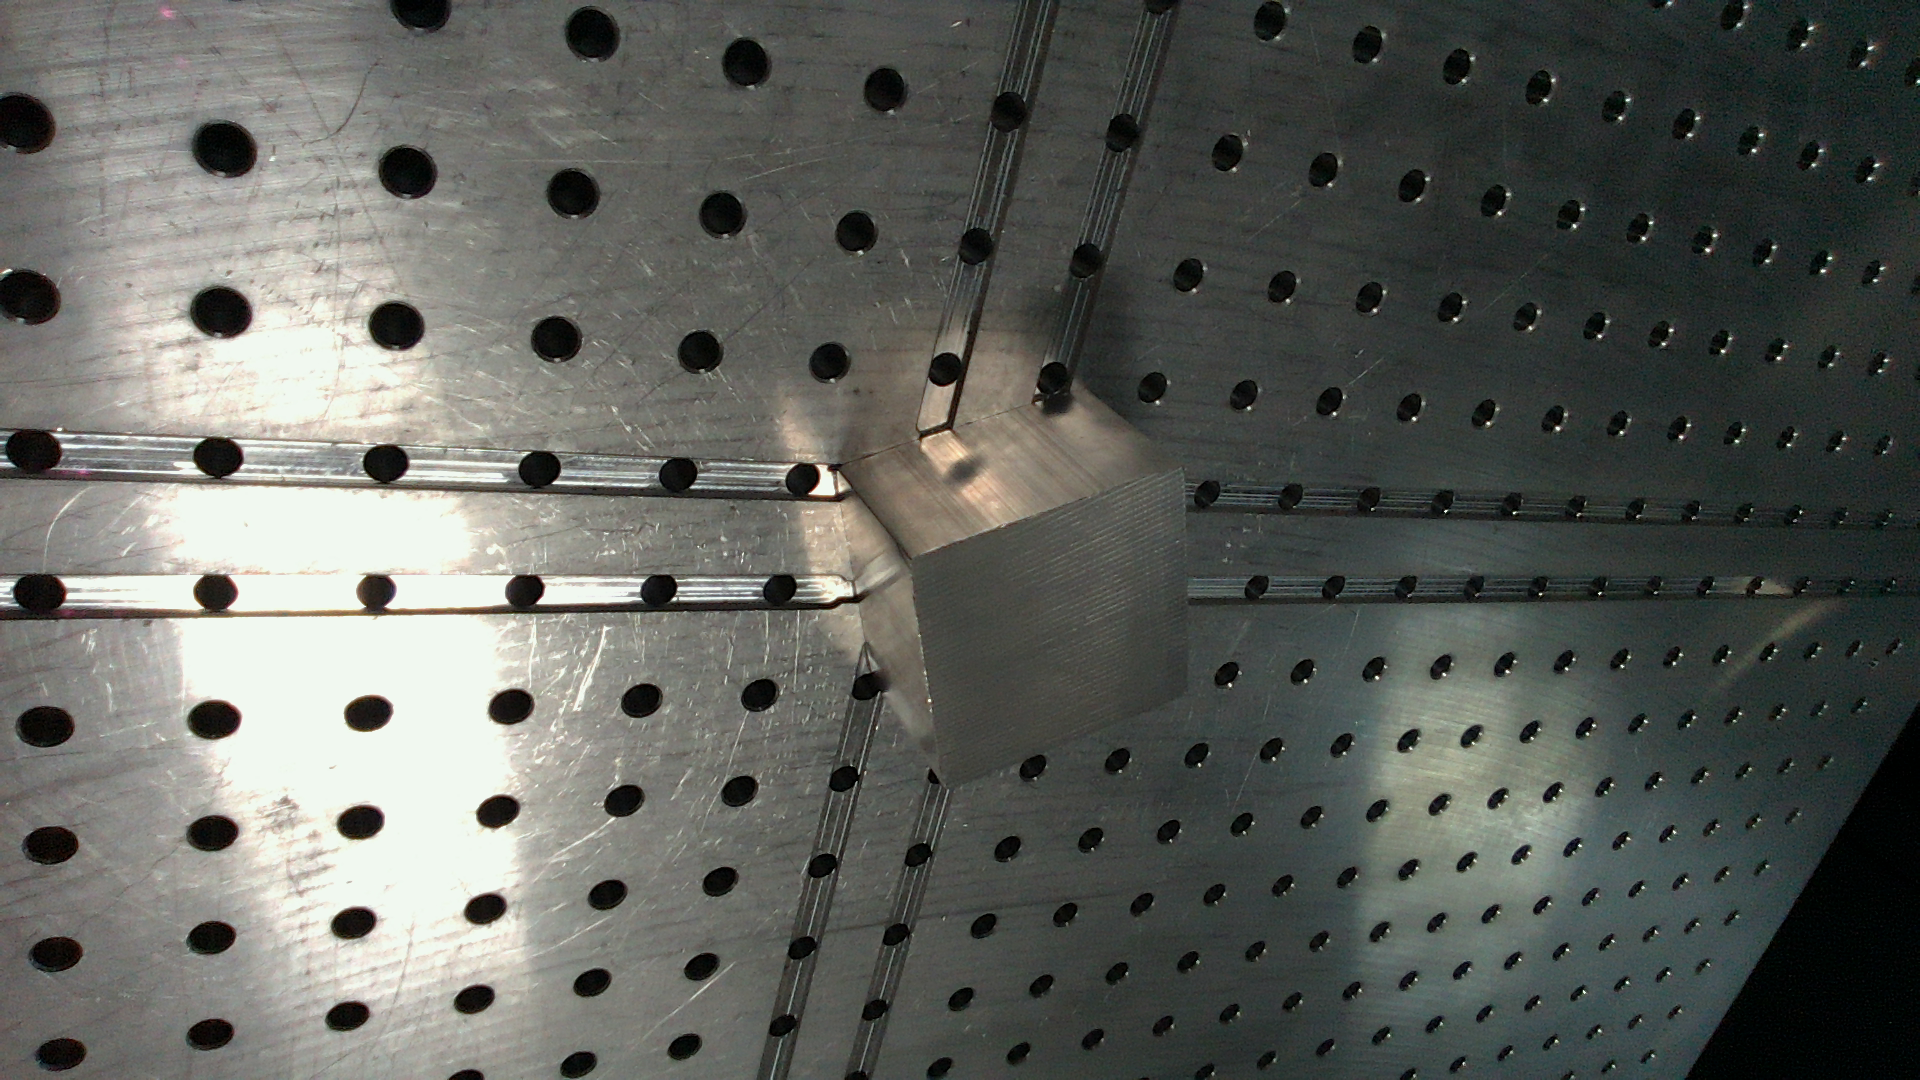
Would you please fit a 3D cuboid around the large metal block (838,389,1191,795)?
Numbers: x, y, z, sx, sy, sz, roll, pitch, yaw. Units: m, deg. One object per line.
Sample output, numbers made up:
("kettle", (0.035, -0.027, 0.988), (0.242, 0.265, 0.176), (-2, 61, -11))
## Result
("large metal block", (0.017, 0.014, 0.390), (0.080, 0.050, 0.080), (-19, 126, -17))
